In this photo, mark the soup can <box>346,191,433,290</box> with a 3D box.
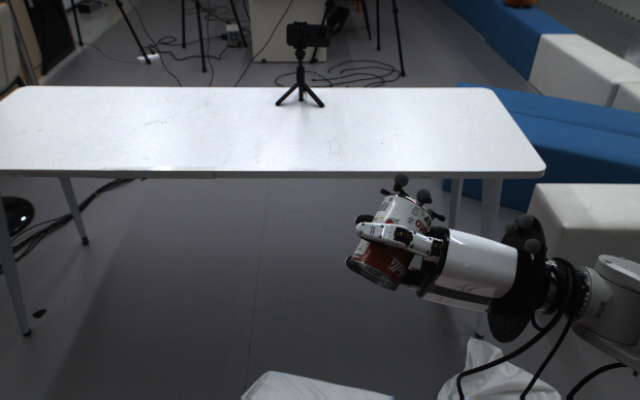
[{"bbox_3d":[0.090,0.050,0.599,0.067,0.067,0.101,23,71,27],"label":"soup can"}]
